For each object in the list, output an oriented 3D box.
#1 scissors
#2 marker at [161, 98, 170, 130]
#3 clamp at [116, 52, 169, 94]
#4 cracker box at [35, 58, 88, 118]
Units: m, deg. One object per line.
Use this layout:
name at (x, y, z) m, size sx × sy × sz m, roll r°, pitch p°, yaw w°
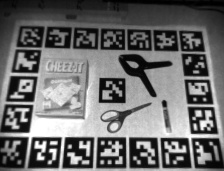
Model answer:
scissors at (0.053, 0.096, 0.790) m, size 0.204 × 0.016 × 0.087 m, roll -26°, pitch 72°, yaw -13°
marker at (0.196, 0.103, 0.793) m, size 0.020 × 0.020 × 0.120 m, roll -2°, pitch 69°, yaw -2°
clamp at (0.106, -0.077, 0.861) m, size 0.202 × 0.037 × 0.166 m, roll 30°, pitch 70°, yaw 8°
cracker box at (-0.178, 0.008, 0.787) m, size 0.164 × 0.072 × 0.213 m, roll 2°, pitch 70°, yaw -1°
